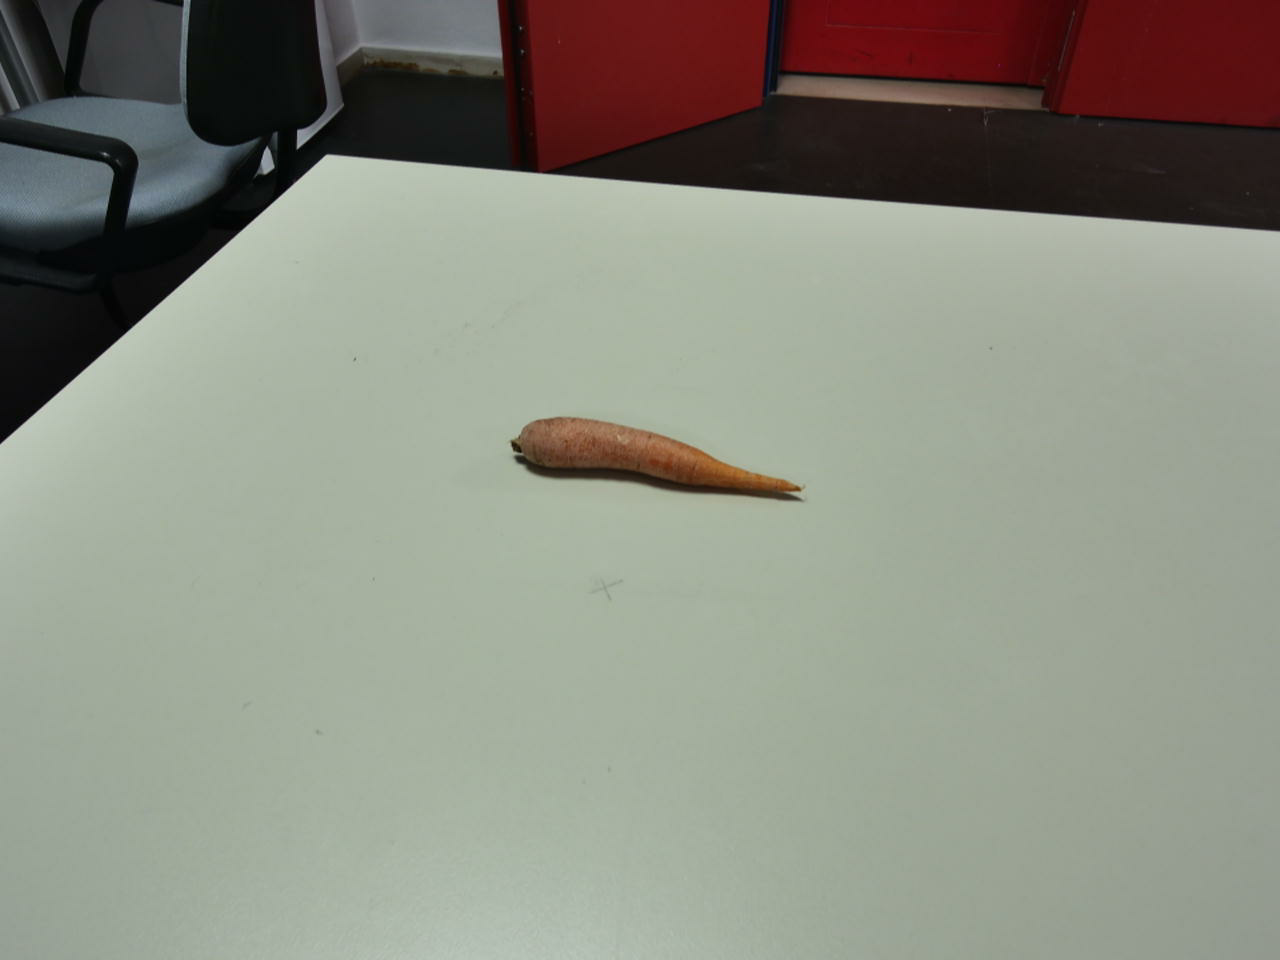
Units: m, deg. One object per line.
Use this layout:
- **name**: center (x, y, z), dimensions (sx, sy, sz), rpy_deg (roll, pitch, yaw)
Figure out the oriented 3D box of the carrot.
- **carrot**: center (0.008, -0.013, 0.547), dimensions (0.163, 0.029, 0.031), rpy_deg (8, 39, 10)
